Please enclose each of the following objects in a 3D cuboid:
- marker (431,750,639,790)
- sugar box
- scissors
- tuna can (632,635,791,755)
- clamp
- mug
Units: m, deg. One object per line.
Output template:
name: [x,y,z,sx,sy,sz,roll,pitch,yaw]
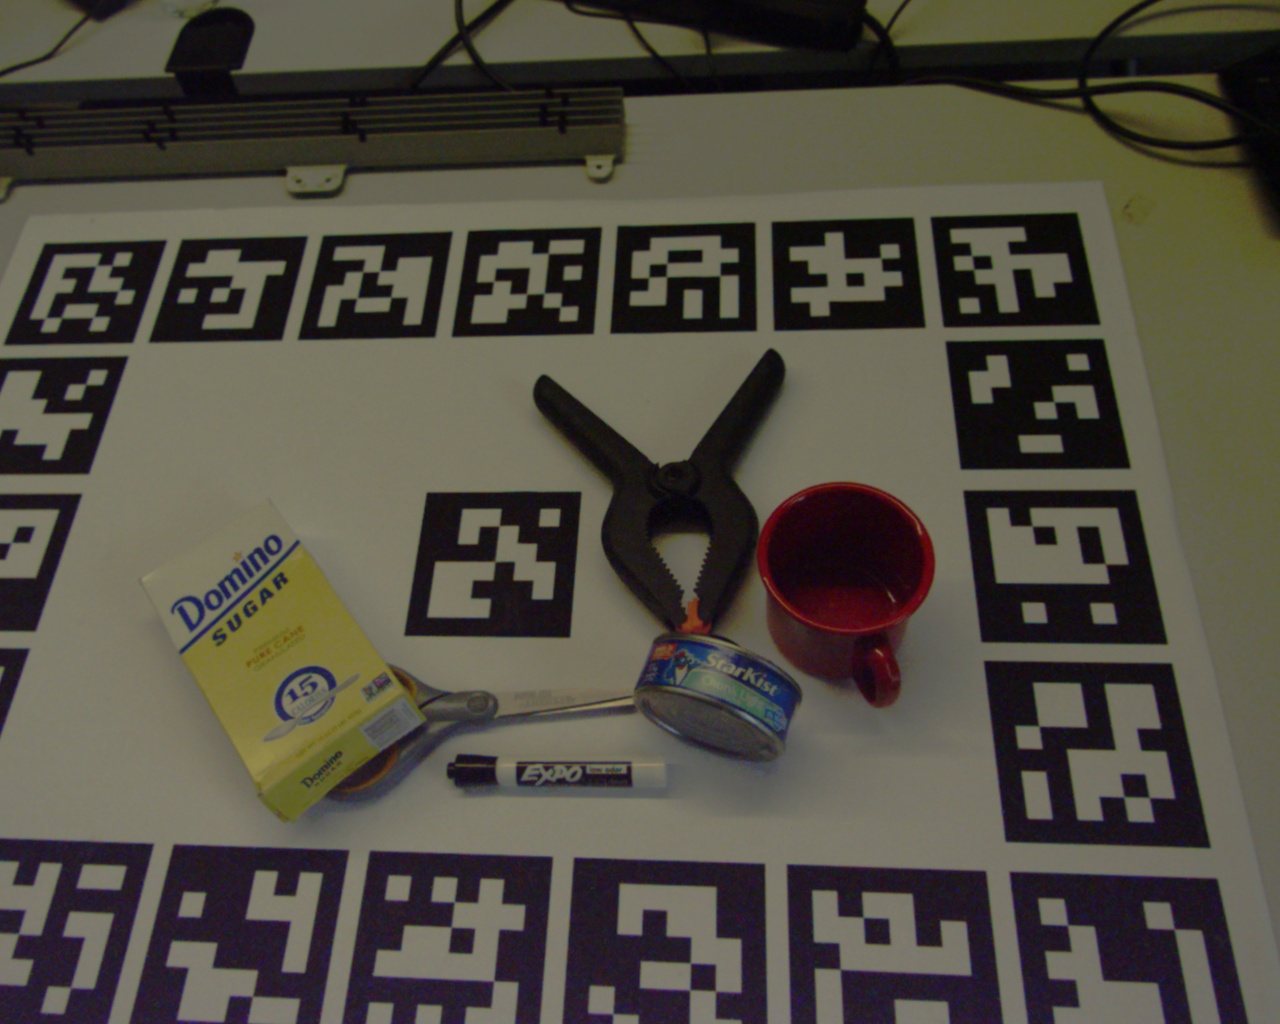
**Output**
marker: [-0.061,0.150,0.662,0.121,0.019,0.020,-3,61,4]
sugar box: [-0.213,0.085,0.693,0.092,0.045,0.178,-33,57,-13]
scissors: [-0.106,0.113,0.685,0.202,0.016,0.088,-9,56,-1]
tuna can: [0.039,0.104,0.640,0.086,0.085,0.033,15,63,13]
clamp: [0.016,-0.005,0.744,0.165,0.036,0.204,-9,61,0]
mug: [0.101,0.060,0.665,0.093,0.081,0.118,-24,58,-9]
